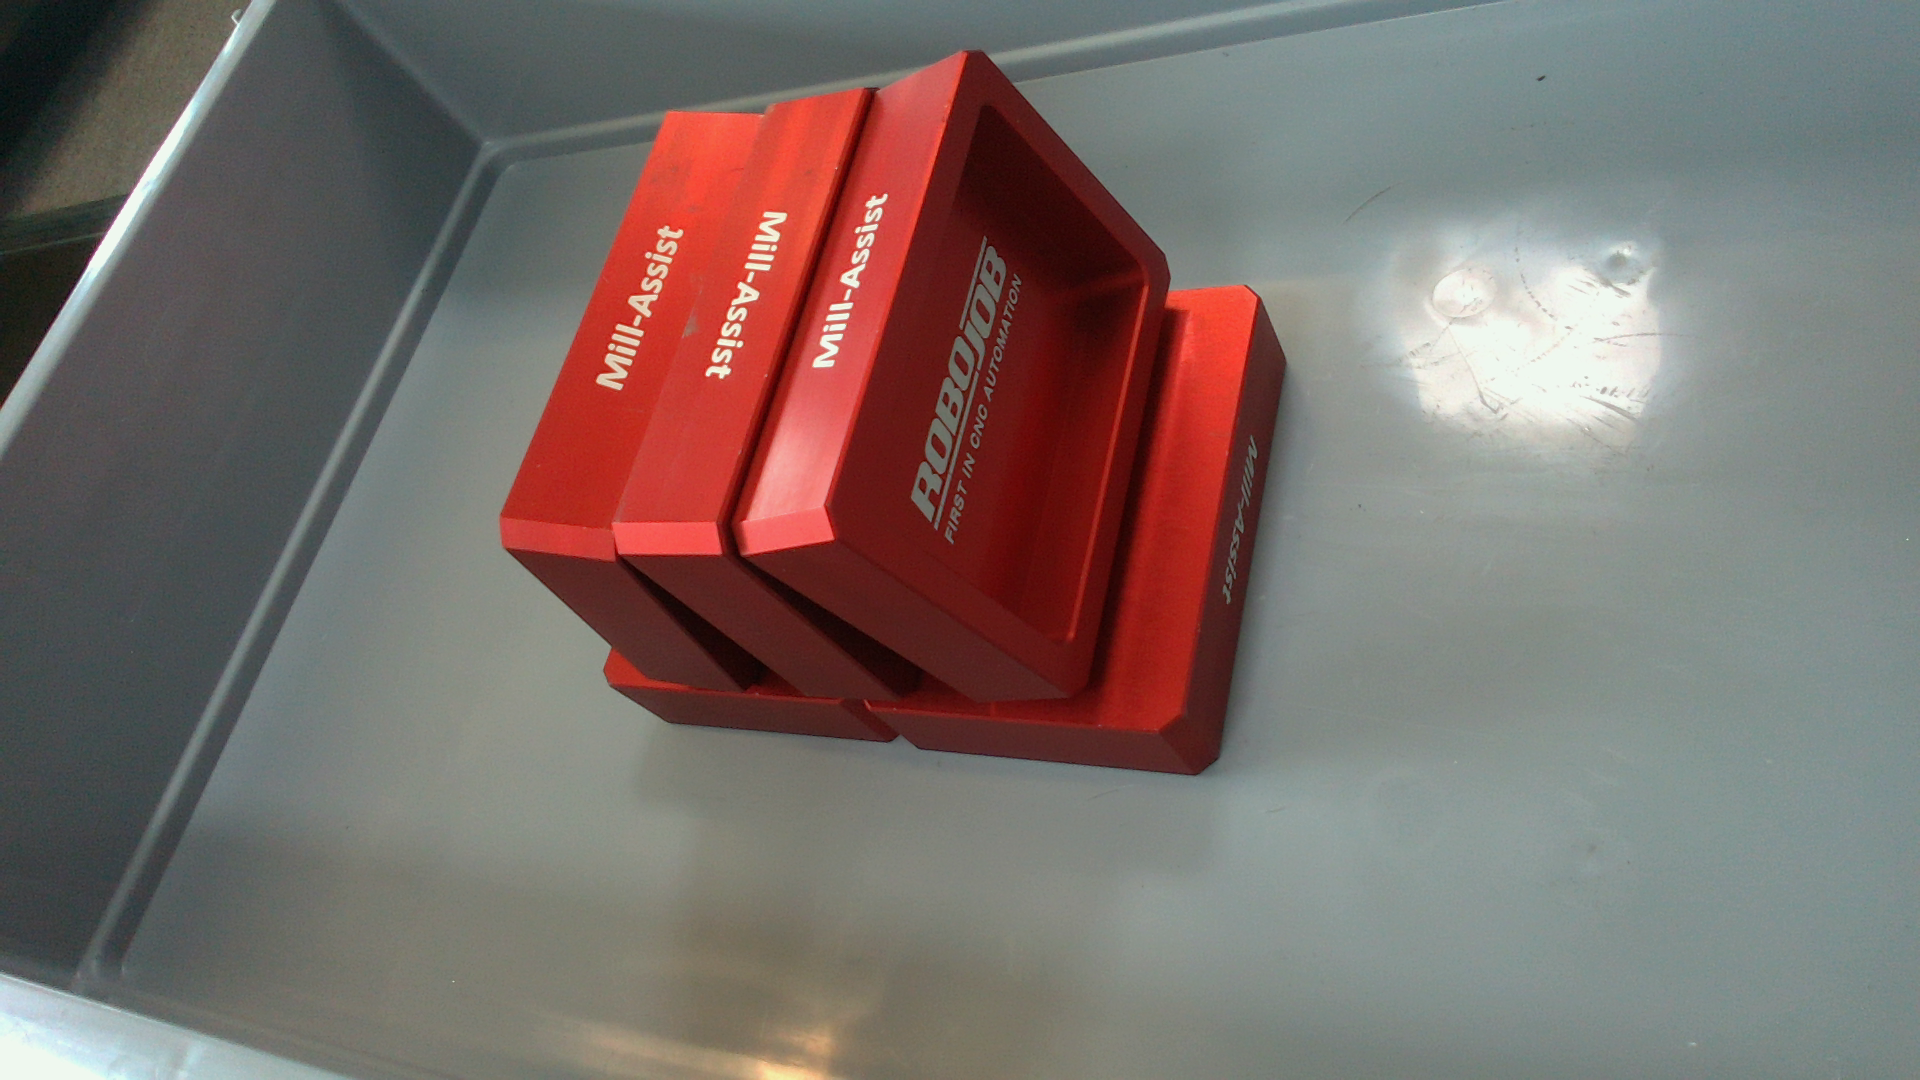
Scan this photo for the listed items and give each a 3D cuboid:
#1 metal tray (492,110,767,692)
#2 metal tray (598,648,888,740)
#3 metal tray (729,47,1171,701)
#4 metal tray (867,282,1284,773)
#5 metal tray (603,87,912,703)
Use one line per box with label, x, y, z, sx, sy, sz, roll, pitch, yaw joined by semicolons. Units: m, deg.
metal tray;-0.067;-0.036;0.366;0.030;0.090;0.130;6;64;17
metal tray;-0.047;-0.008;0.418;0.090;0.030;0.130;0;62;29
metal tray;0.005;-0.038;0.329;0.030;0.090;0.130;-9;57;41
metal tray;0.033;-0.006;0.375;0.090;0.030;0.130;0;62;29
metal tray;-0.031;-0.036;0.348;0.030;0.090;0.130;0;59;29
